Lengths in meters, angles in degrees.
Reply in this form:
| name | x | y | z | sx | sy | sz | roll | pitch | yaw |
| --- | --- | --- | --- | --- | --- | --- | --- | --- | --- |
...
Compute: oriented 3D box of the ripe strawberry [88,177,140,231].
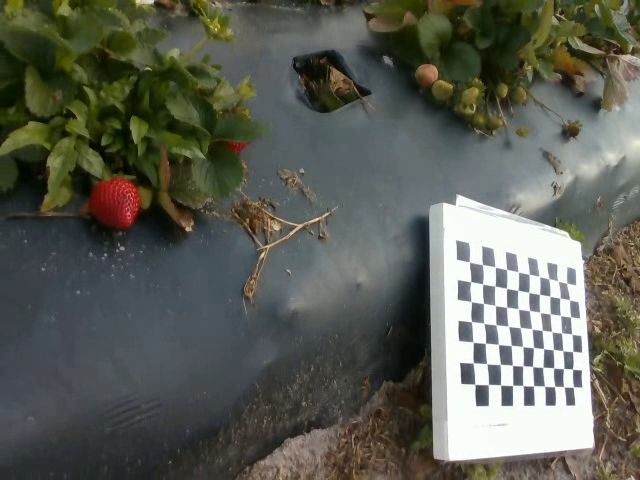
| name | x | y | z | sx | sy | sz | roll | pitch | yaw |
| --- | --- | --- | --- | --- | --- | --- | --- | --- | --- |
| ripe strawberry | -0.165 | -0.026 | 0.480 | 0.043 | 0.051 | 0.043 | -9 | -33 | -39 |
